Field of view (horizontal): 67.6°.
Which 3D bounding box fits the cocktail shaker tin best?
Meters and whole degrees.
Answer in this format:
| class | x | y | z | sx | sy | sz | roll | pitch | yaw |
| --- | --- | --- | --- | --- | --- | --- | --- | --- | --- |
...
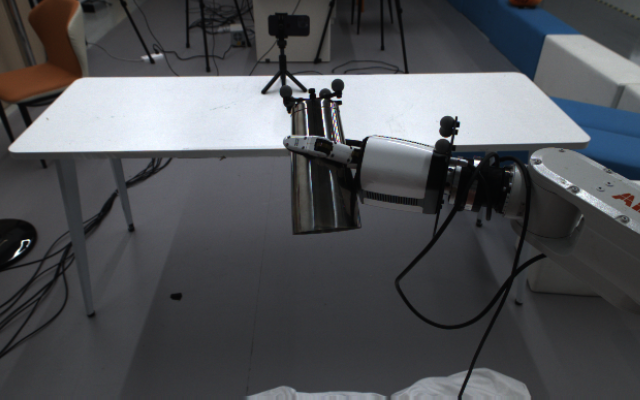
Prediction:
| class | x | y | z | sx | sy | sz | roll | pitch | yaw |
| --- | --- | --- | --- | --- | --- | --- | --- | --- | --- |
| cocktail shaker tin | 0.001 | -0.043 | 0.647 | 0.093 | 0.170 | 0.093 | -6 | -7 | -1 |
